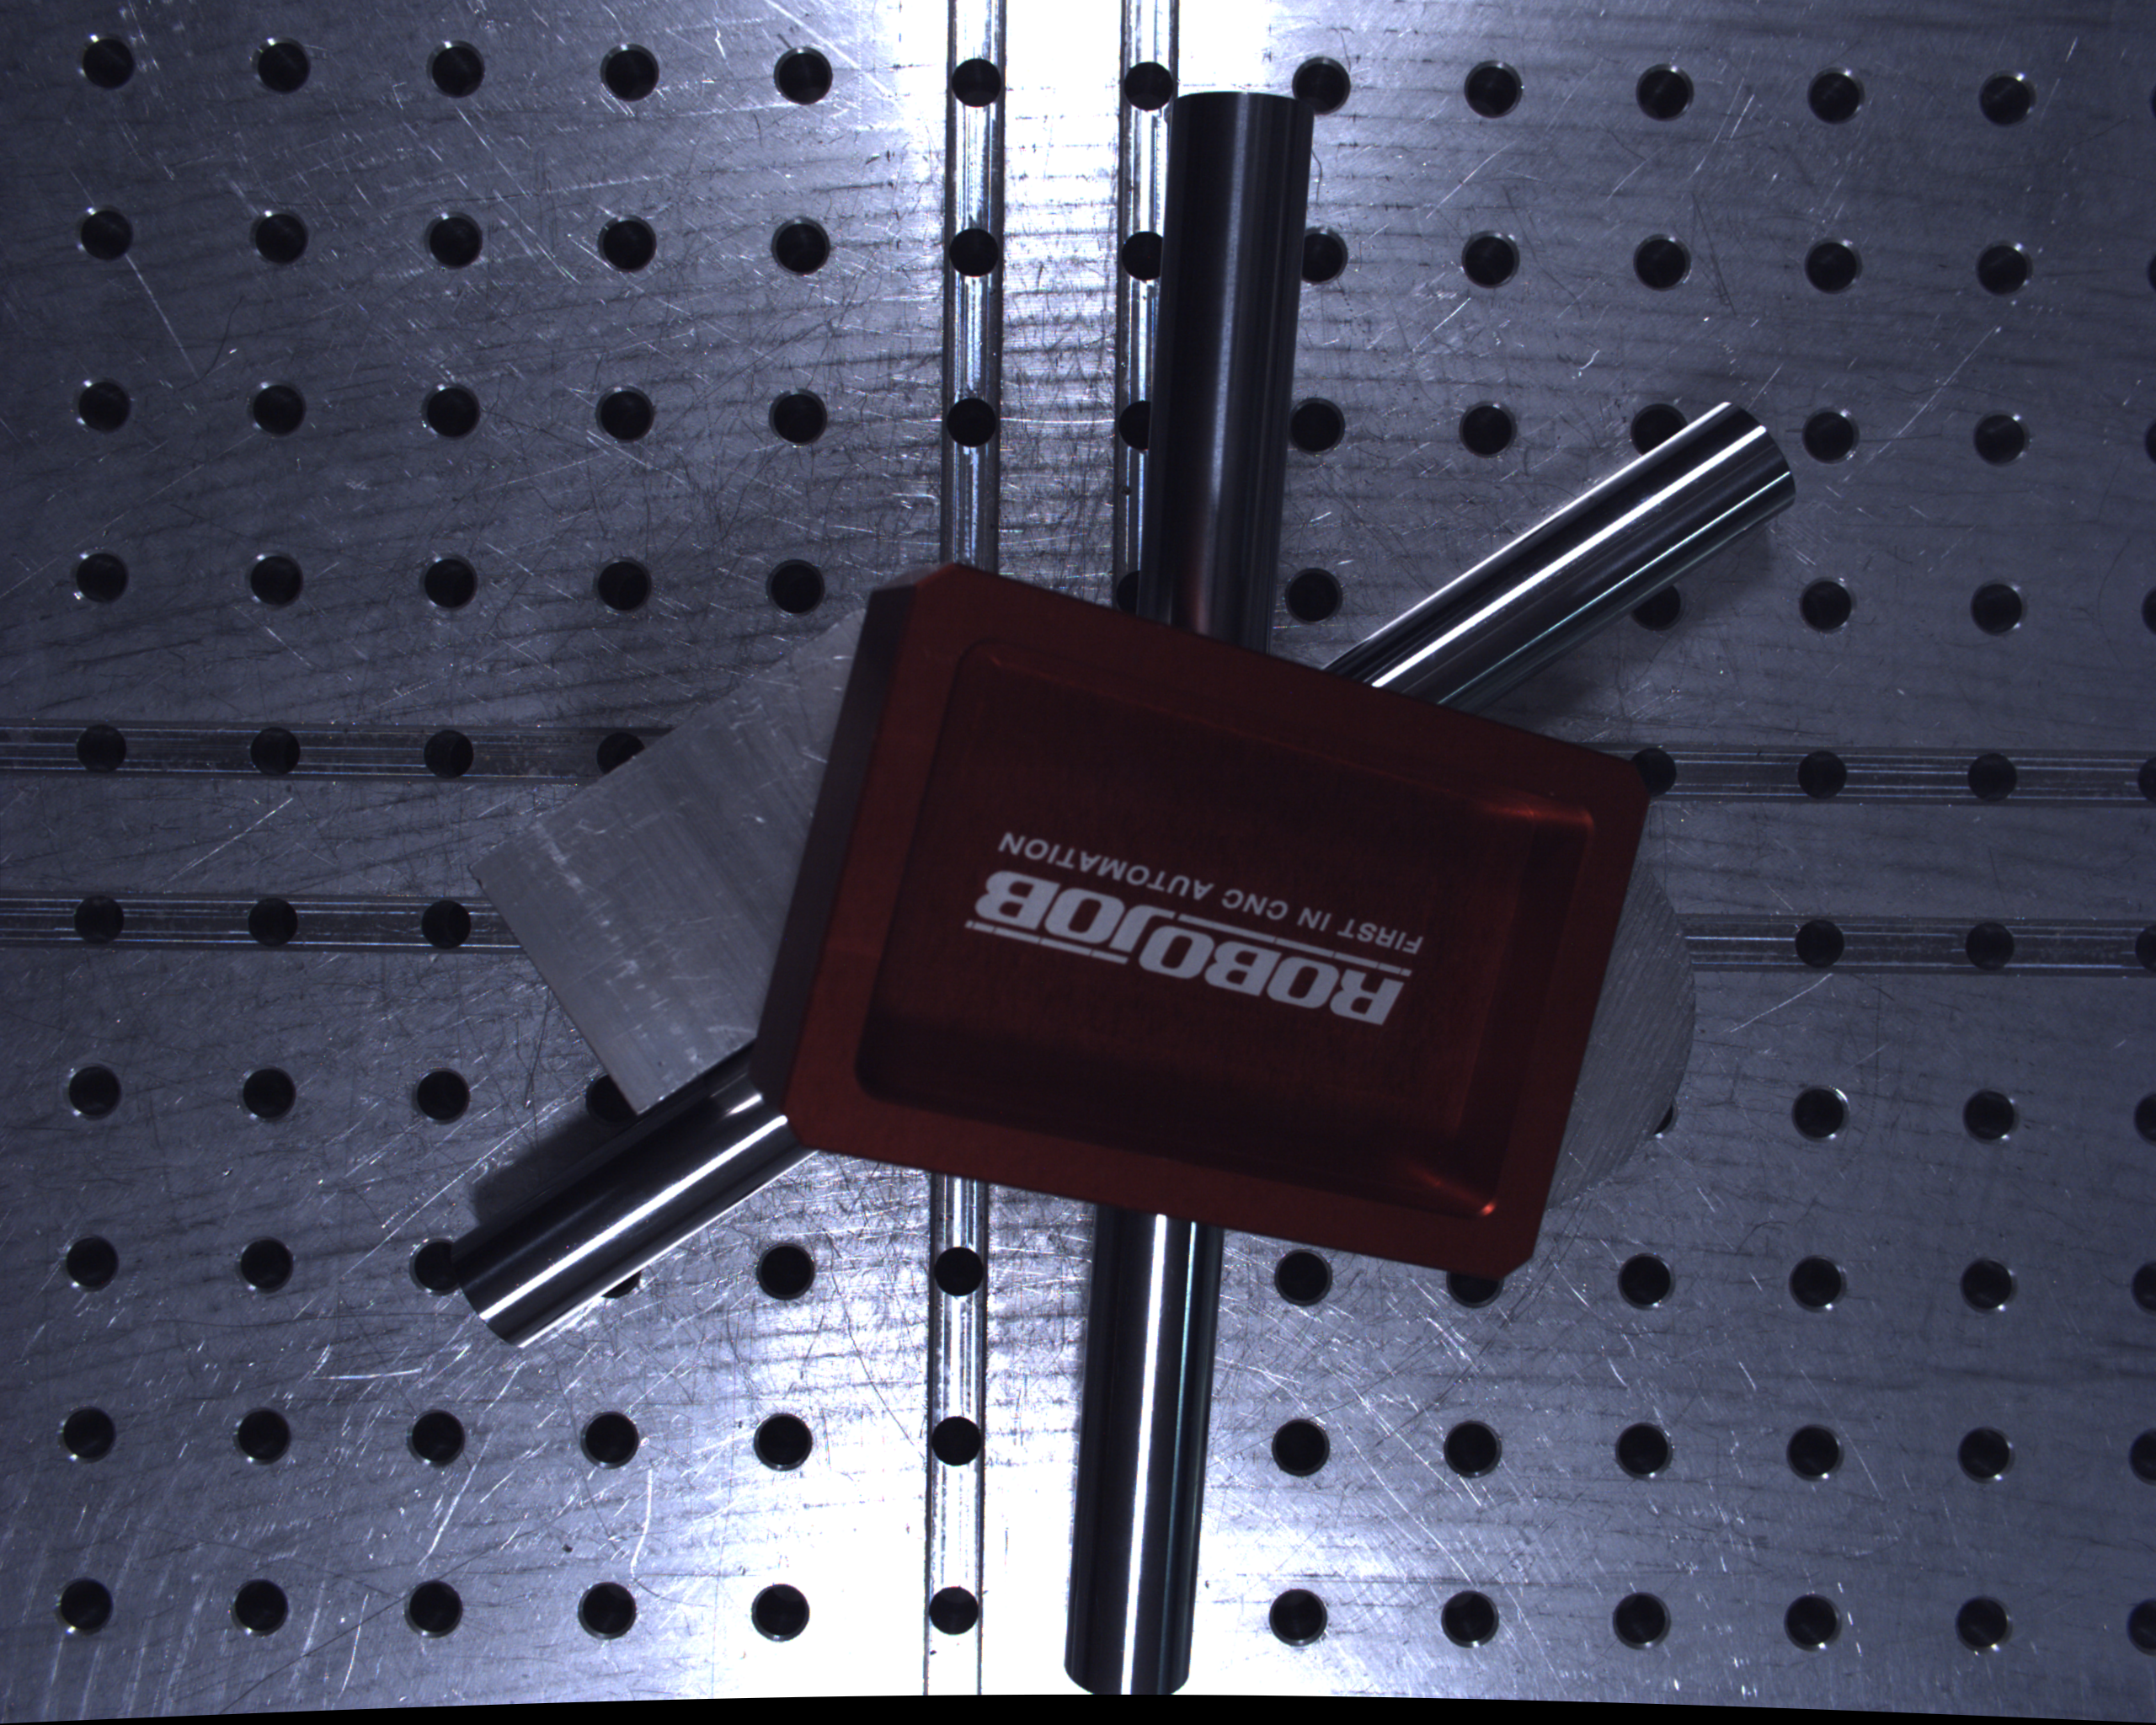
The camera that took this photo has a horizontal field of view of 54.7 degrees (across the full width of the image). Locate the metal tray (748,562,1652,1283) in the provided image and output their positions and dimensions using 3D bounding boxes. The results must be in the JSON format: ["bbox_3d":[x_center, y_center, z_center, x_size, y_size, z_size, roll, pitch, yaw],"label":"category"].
[{"bbox_3d":[0.022,0.012,0.341,0.131,0.030,0.089,14,90,-19],"label":"metal tray"}]

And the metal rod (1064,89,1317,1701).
[{"bbox_3d":[0.020,0.013,0.391,0.025,0.025,0.298,4,99,-1],"label":"metal rod"}]

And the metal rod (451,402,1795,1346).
[{"bbox_3d":[0.009,0.002,0.414,0.301,0.025,0.025,-34,90,-1],"label":"metal rod"}]

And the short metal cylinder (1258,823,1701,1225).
[{"bbox_3d":[0.072,0.026,0.401,0.081,0.050,0.079,0,90,-1],"label":"short metal cylinder"}]

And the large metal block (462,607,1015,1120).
[{"bbox_3d":[-0.054,0.000,0.385,0.080,0.080,0.050,-34,90,0],"label":"large metal block"}]
